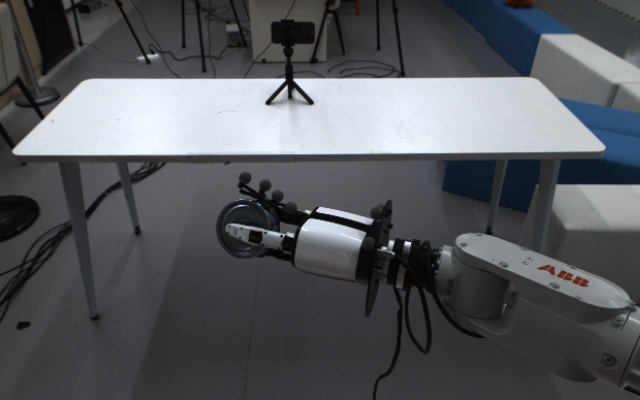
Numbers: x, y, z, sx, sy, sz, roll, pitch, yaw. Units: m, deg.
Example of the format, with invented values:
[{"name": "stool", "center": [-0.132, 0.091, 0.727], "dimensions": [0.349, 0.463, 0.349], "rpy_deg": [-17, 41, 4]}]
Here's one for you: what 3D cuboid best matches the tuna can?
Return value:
[{"name": "tuna can", "center": [-0.099, 0.046, 0.680], "dimensions": [0.085, 0.085, 0.034], "rpy_deg": [12, 4, 15]}]
